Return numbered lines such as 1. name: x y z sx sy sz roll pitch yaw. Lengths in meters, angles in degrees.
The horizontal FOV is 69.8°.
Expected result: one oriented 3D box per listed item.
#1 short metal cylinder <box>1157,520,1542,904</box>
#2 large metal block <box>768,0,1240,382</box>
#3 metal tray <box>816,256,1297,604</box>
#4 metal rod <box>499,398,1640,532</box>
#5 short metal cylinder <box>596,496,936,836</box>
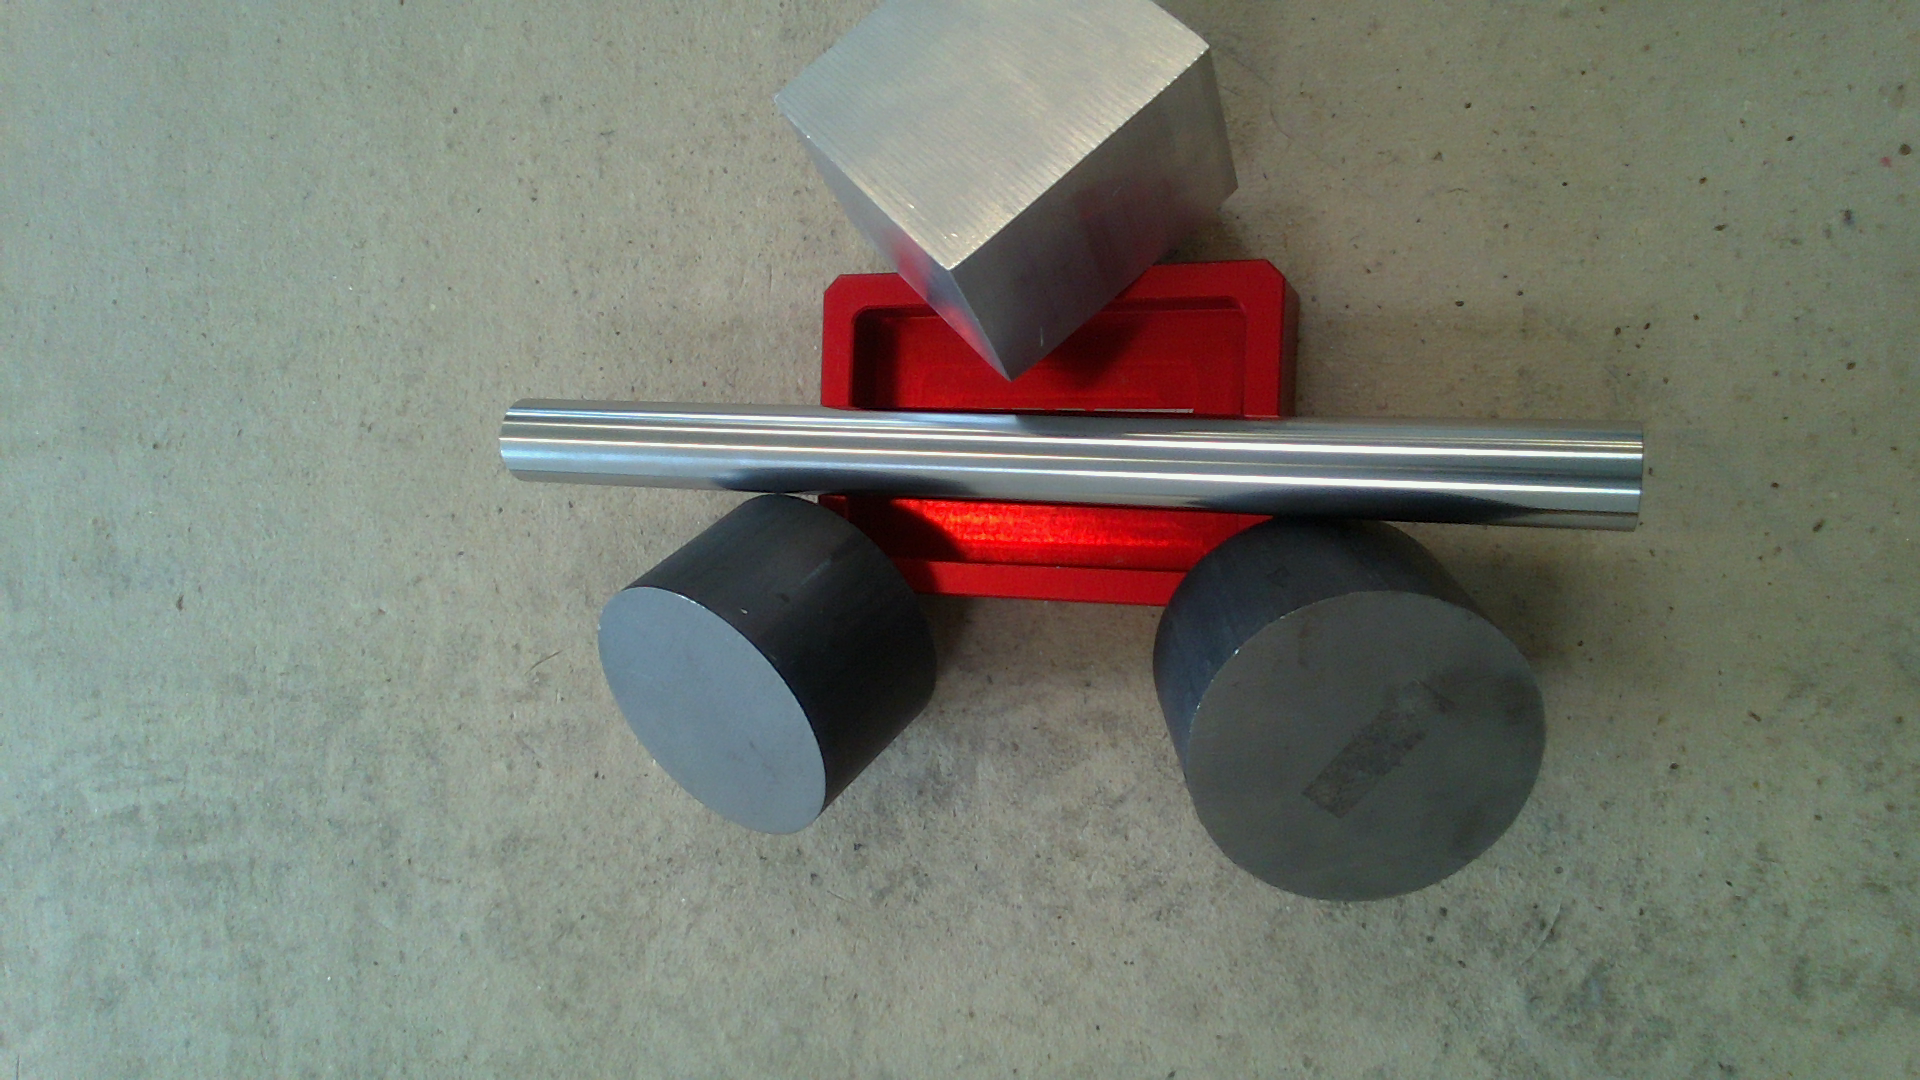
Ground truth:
1. short metal cylinder: 0.091 0.039 0.333 0.080 0.050 0.080 0 111 -1
2. large metal block: 0.012 -0.103 0.355 0.080 0.050 0.080 -41 60 -1
3. metal tray: 0.025 -0.029 0.385 0.130 0.030 0.090 2 91 20
4. metal rod: 0.011 -0.022 0.360 0.299 0.025 0.025 3 91 20
5. short metal cylinder: -0.054 0.034 0.383 0.080 0.050 0.080 22 132 27
